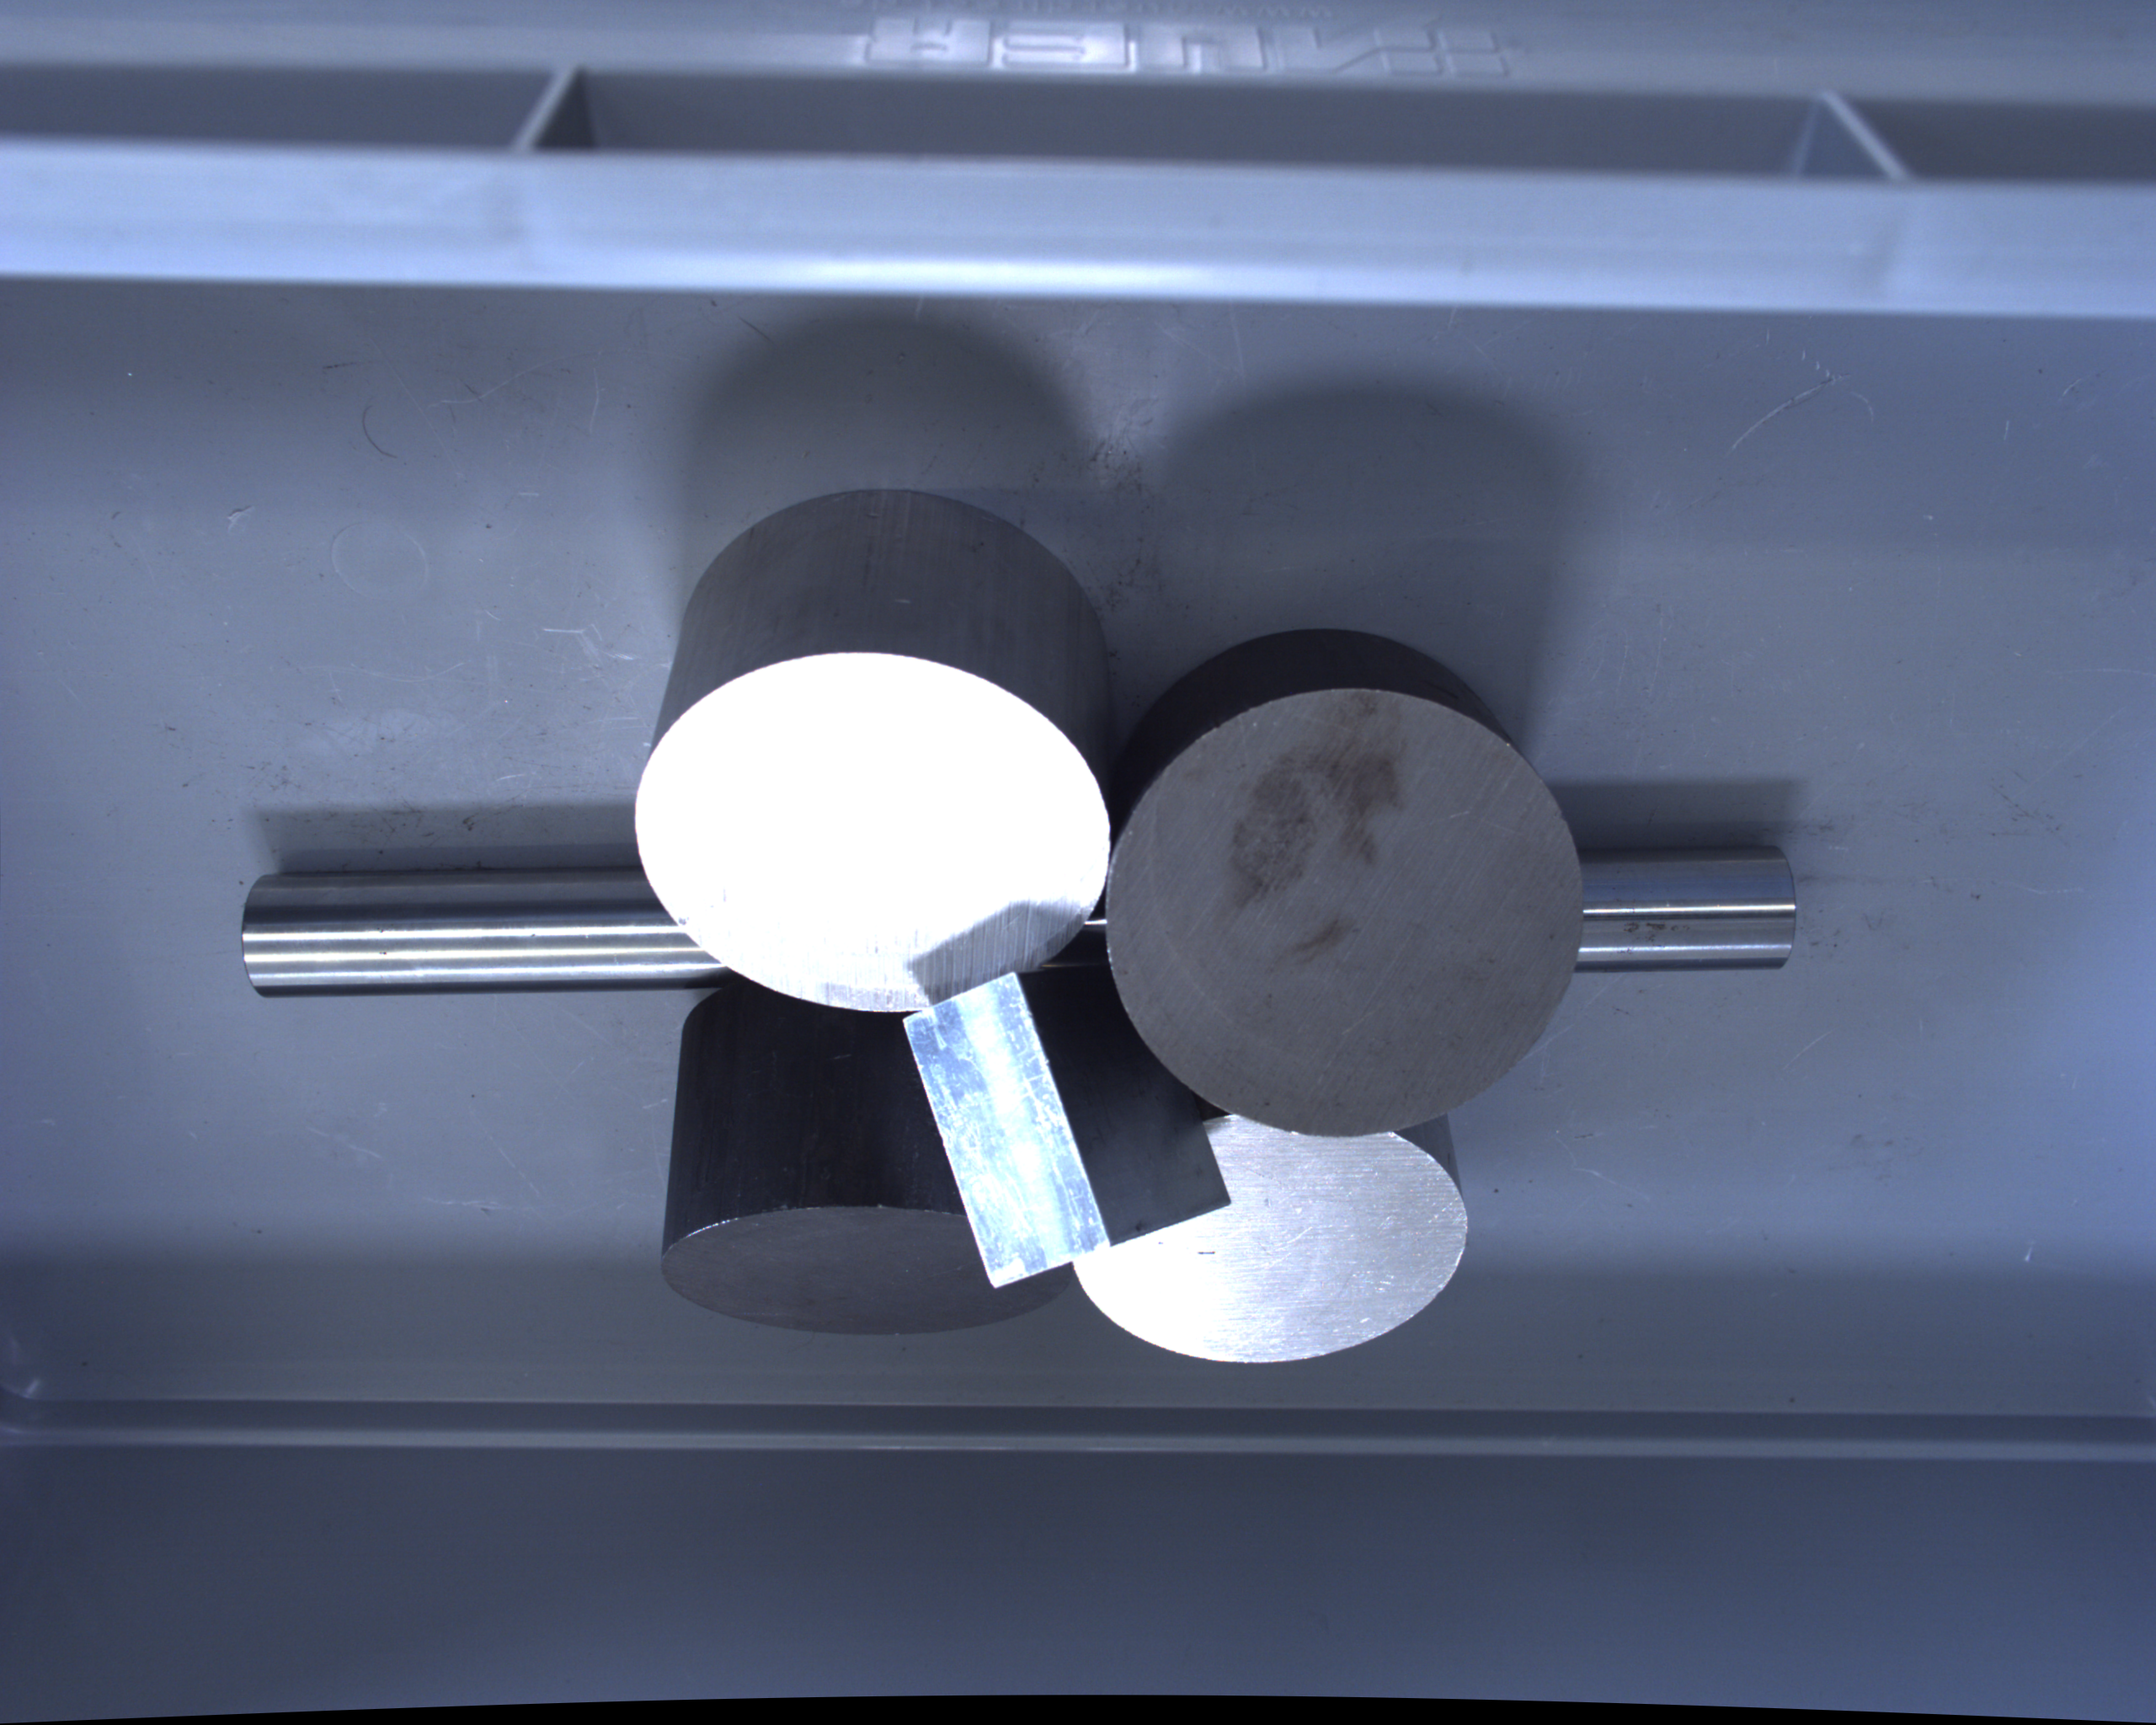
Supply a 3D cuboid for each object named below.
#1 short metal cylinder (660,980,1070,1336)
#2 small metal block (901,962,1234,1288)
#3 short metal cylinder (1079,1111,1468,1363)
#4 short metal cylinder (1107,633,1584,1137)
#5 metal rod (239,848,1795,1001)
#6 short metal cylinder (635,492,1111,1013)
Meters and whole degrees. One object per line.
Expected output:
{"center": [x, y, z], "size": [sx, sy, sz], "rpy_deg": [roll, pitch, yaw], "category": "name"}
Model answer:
{"center": [-0.042, 0.061, 0.426], "size": [0.081, 0.050, 0.080], "rpy_deg": [-1, 150, 0], "category": "short metal cylinder"}
{"center": [-0.001, 0.046, 0.383], "size": [0.025, 0.050, 0.050], "rpy_deg": [-25, 168, 26], "category": "small metal block"}
{"center": [0.039, 0.062, 0.443], "size": [0.081, 0.050, 0.079], "rpy_deg": [0, 130, 0], "category": "short metal cylinder"}
{"center": [0.045, 0.002, 0.376], "size": [0.081, 0.050, 0.079], "rpy_deg": [0, 107, 0], "category": "short metal cylinder"}
{"center": [-0.012, 0.012, 0.417], "size": [0.302, 0.025, 0.025], "rpy_deg": [-1, 130, 0], "category": "metal rod"}
{"center": [-0.035, -0.019, 0.374], "size": [0.081, 0.050, 0.079], "rpy_deg": [0, 130, 0], "category": "short metal cylinder"}
